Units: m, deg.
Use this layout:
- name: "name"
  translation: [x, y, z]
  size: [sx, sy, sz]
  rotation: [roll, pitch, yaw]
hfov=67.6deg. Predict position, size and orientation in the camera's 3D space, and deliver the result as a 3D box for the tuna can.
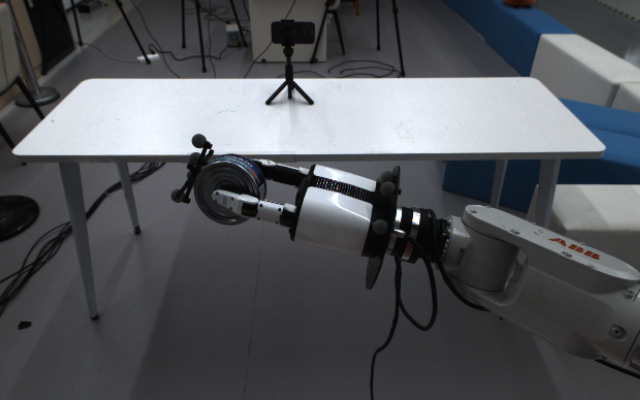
- name: "tuna can"
  translation: [-0.110, -0.014, 0.606]
  size: [0.085, 0.085, 0.034]
  rotation: [6, 20, 5]
